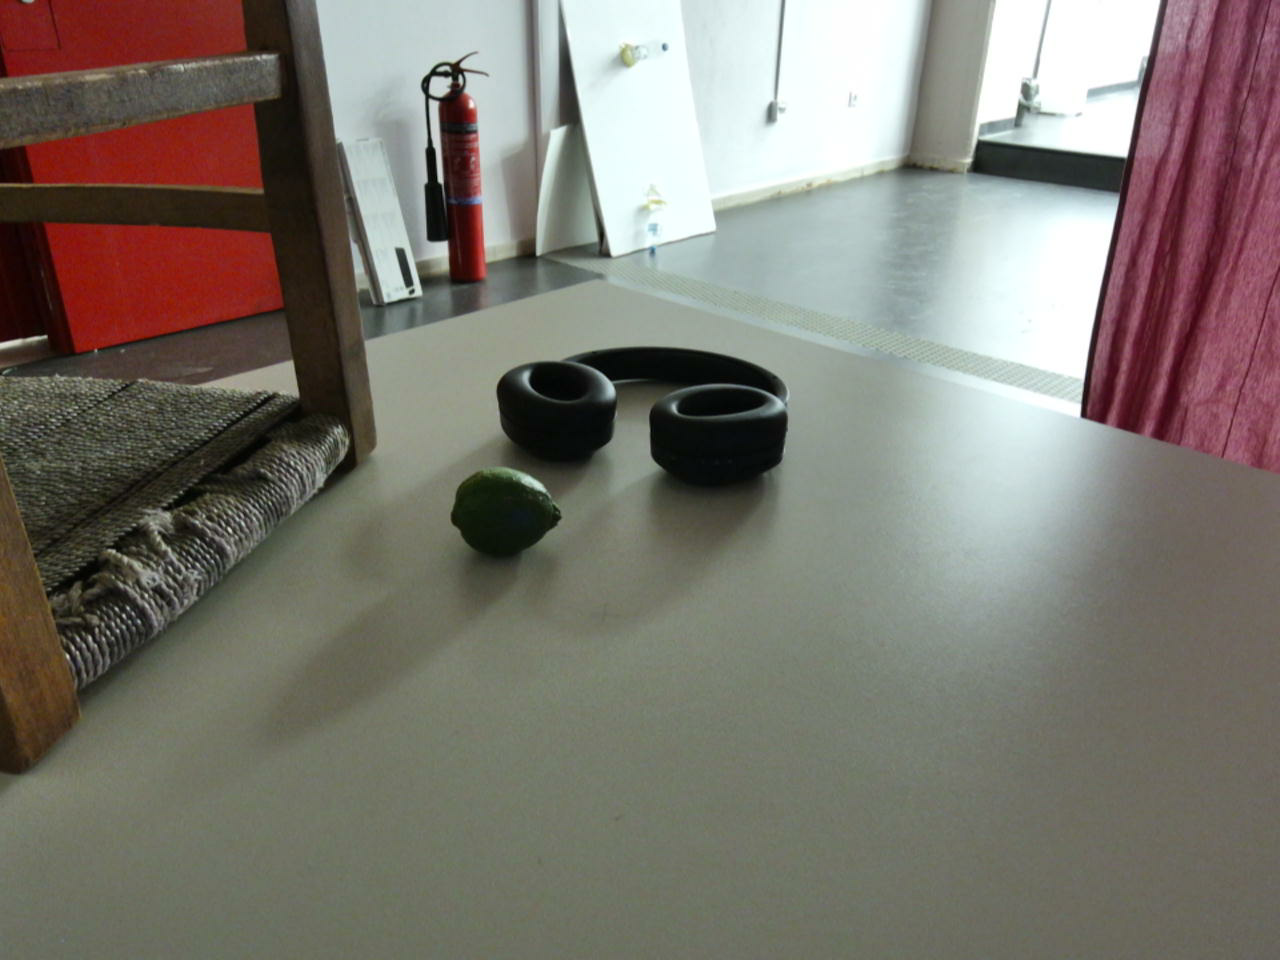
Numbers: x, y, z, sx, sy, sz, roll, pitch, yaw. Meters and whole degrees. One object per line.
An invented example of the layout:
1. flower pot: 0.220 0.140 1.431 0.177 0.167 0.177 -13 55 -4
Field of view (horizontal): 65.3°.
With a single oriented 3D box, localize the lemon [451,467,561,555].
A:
1. lemon: -0.081 0.017 0.579 0.054 0.051 0.057 19 31 34
